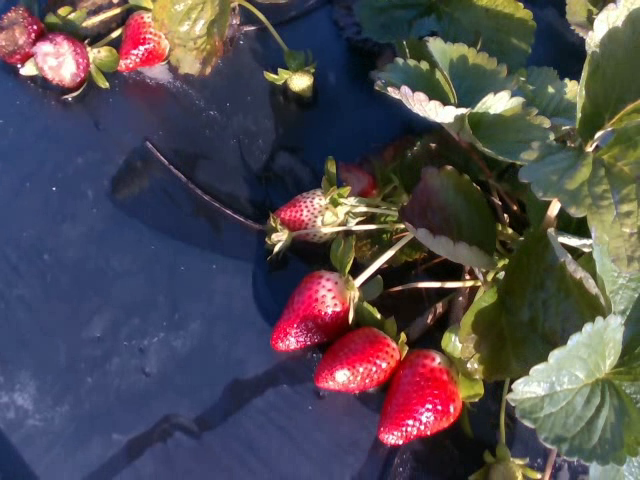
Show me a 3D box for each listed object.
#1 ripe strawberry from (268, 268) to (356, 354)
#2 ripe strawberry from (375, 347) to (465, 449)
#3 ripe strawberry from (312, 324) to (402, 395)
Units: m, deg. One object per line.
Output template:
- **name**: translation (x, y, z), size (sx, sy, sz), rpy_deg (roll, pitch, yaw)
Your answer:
- **ripe strawberry**: translation (-0.004, 0.032, 0.260), size (0.031, 0.045, 0.023), rpy_deg (45, -7, 17)
- **ripe strawberry**: translation (0.034, 0.070, 0.240), size (0.035, 0.034, 0.041), rpy_deg (41, 46, 17)
- **ripe strawberry**: translation (0.014, 0.050, 0.245), size (0.039, 0.031, 0.037), rpy_deg (-15, -24, -51)
